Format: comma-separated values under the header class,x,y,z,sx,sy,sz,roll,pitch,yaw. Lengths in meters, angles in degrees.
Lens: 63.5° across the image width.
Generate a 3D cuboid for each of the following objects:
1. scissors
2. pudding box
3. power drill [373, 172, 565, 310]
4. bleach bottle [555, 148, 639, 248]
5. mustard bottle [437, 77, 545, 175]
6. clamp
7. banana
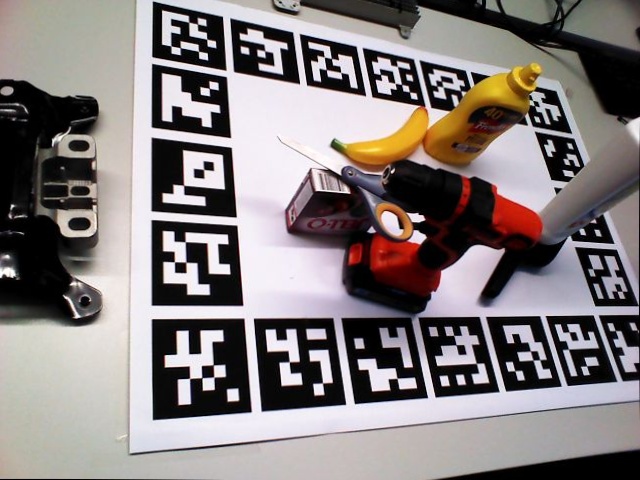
class,x,y,z,sx,sy,sz,roll,pitch,yaw
scissors,0.056,-0.072,0.580,0.202,0.016,0.087,29,61,-16
pudding box,0.039,-0.039,0.635,0.113,0.090,0.038,8,56,-22
power drill,0.133,0.009,0.561,0.184,0.188,0.057,15,54,-15
bleach bottle,0.396,-0.054,0.696,0.102,0.252,0.068,-18,71,-24
mustard bottle,0.261,-0.169,0.747,0.096,0.193,0.058,17,59,-18
clamp,0.324,0.001,0.763,0.202,0.037,0.165,-3,69,-28
banana,0.135,-0.161,0.764,0.074,0.039,0.196,38,55,17
